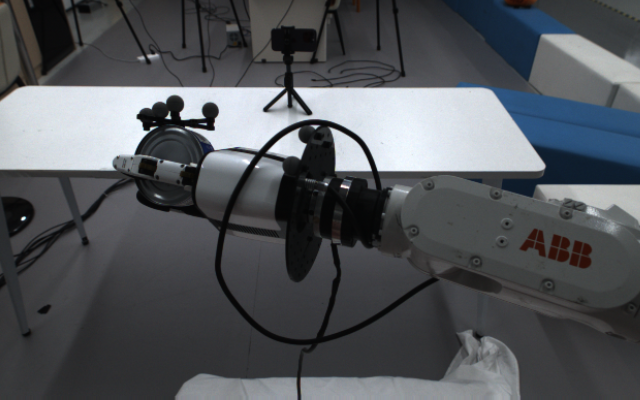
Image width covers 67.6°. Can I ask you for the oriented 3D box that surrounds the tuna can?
[{"bbox_3d":[-0.153,-0.035,0.522,0.085,0.085,0.034,15,1,18],"label":"tuna can"}]
